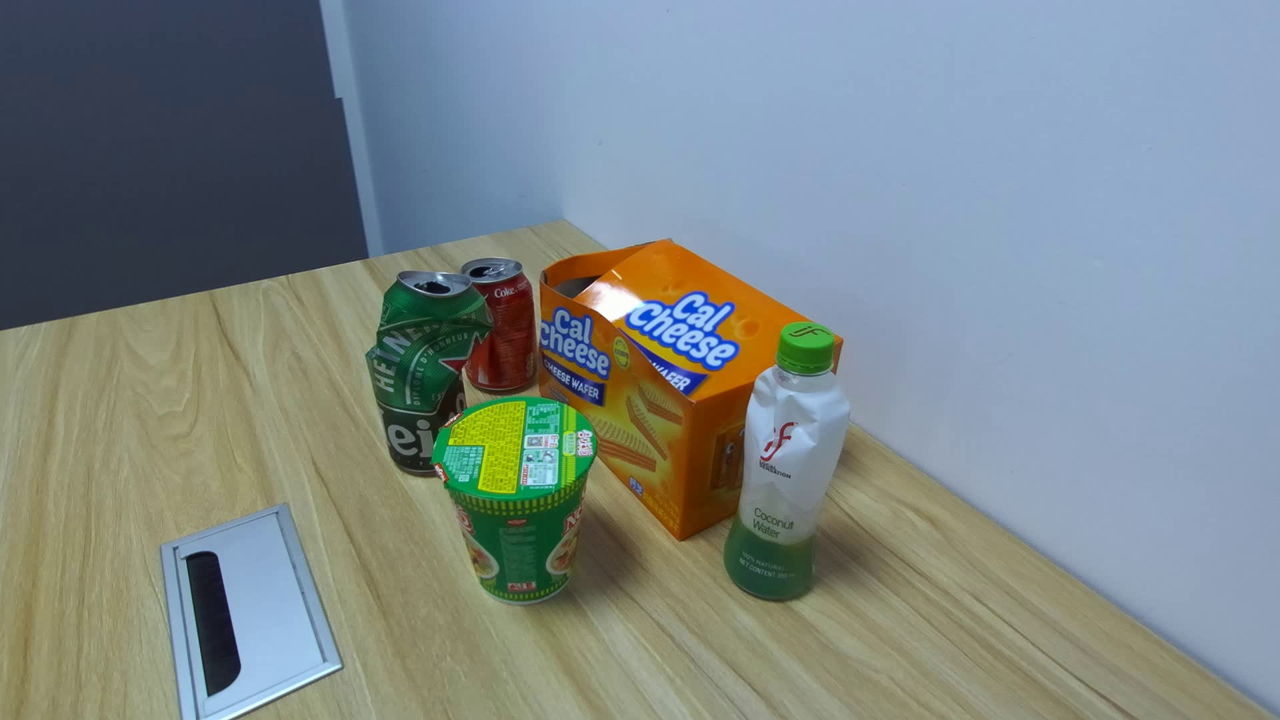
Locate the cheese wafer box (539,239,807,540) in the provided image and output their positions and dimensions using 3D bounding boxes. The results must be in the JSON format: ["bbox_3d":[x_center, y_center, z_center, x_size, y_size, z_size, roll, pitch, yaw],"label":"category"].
[{"bbox_3d":[0.025,0.008,0.578,0.153,0.132,0.229,-20,39,-28],"label":"cheese wafer box"}]

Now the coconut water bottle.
[{"bbox_3d":[0.090,0.064,0.437,0.069,0.186,0.069,1,31,0],"label":"coconut water bottle"}]

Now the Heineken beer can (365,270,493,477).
[{"bbox_3d":[-0.163,0.011,0.543,0.067,0.159,0.079,22,30,23],"label":"Heineken beer can"}]

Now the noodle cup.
[{"bbox_3d":[-0.076,0.095,0.458,0.097,0.110,0.097,1,35,-1],"label":"noodle cup"}]

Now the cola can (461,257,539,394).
[{"bbox_3d":[-0.130,-0.033,0.649,0.067,0.117,0.065,-24,40,-35],"label":"cola can"}]
